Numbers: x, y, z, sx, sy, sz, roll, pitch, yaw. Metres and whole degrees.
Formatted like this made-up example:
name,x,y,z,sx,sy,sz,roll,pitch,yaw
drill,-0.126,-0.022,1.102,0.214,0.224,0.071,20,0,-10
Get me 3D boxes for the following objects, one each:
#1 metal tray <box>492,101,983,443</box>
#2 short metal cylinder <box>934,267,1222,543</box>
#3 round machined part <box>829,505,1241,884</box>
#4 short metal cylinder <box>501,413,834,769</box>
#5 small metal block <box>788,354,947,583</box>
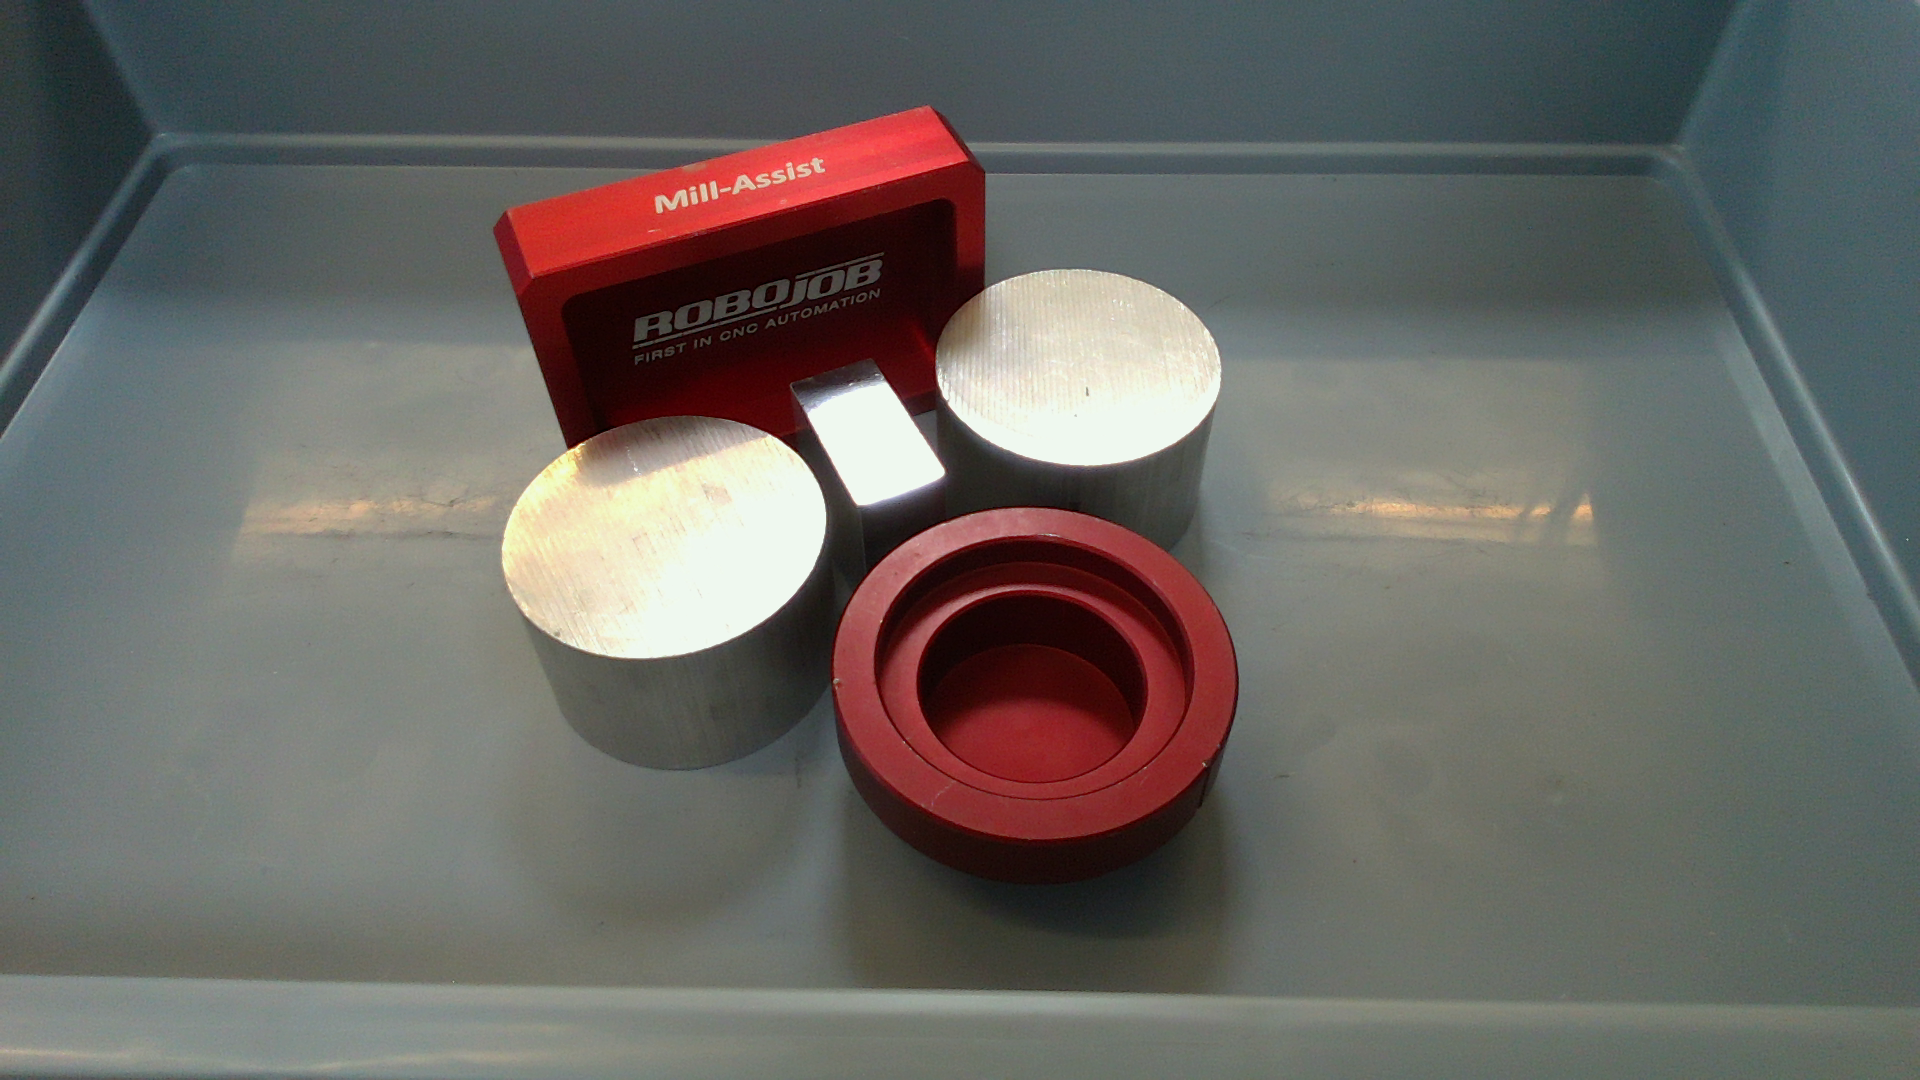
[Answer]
name,x,y,z,sx,sy,sz,roll,pitch,yaw
metal tray,-0.058,-0.068,0.403,0.130,0.090,0.030,-19,52,-15
short metal cylinder,0.033,-0.035,0.403,0.080,0.050,0.080,0,50,0
round machined part,0.018,0.041,0.344,0.098,0.042,0.098,0,50,0
short metal cylinder,-0.074,0.013,0.363,0.080,0.050,0.080,0,50,0
small metal block,-0.025,-0.014,0.385,0.025,0.050,0.050,-20,53,-16
